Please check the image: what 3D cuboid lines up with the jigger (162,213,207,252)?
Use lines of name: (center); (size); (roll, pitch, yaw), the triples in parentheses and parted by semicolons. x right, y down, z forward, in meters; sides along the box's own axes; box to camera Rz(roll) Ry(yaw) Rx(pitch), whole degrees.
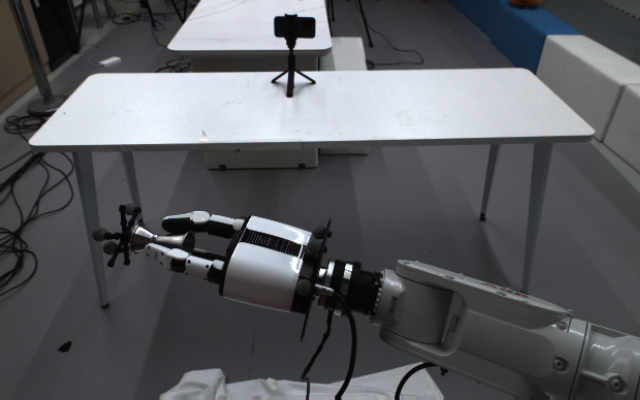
jigger: (-0.191, 0.049, 0.617); (0.071, 0.043, 0.043); (8, 35, 5)
